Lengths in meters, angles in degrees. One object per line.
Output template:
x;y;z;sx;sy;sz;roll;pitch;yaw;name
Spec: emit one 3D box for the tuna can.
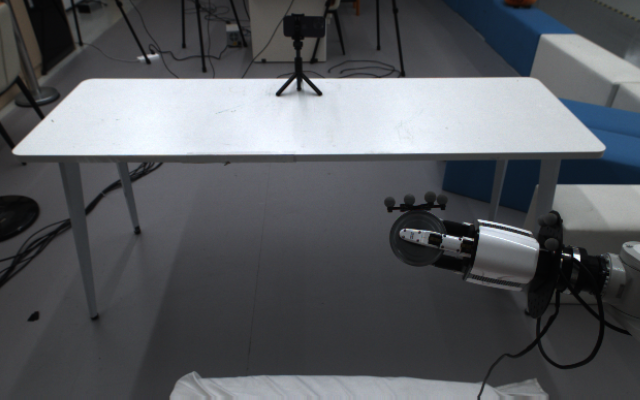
0.150;0.057;0.738;0.085;0.085;0.034;11;-9;13;tuna can
